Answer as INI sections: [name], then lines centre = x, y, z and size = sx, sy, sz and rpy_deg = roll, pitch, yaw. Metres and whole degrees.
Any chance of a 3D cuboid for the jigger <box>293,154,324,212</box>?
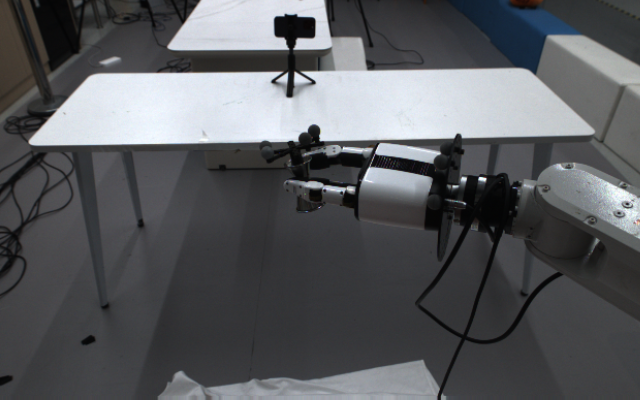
[jigger]
centre = -0.020, -0.022, 0.662
size = 0.043, 0.071, 0.043
rpy_deg = -14, 21, 6
